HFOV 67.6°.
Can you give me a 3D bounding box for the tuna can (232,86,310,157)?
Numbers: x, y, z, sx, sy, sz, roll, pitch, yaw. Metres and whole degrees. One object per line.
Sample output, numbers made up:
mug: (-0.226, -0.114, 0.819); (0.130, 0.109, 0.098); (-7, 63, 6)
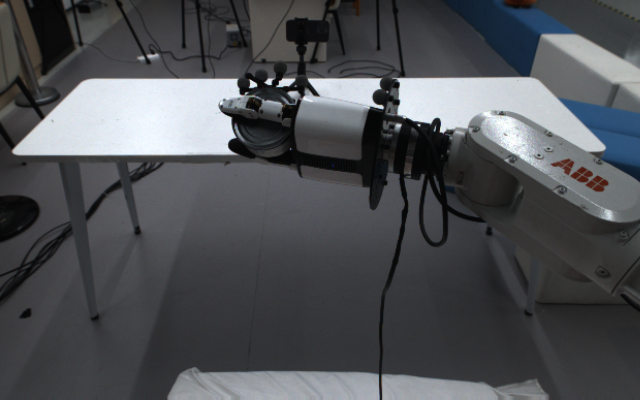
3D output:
tuna can: (-0.068, -0.099, 0.625); (0.085, 0.034, 0.085); (-3, 73, 10)
